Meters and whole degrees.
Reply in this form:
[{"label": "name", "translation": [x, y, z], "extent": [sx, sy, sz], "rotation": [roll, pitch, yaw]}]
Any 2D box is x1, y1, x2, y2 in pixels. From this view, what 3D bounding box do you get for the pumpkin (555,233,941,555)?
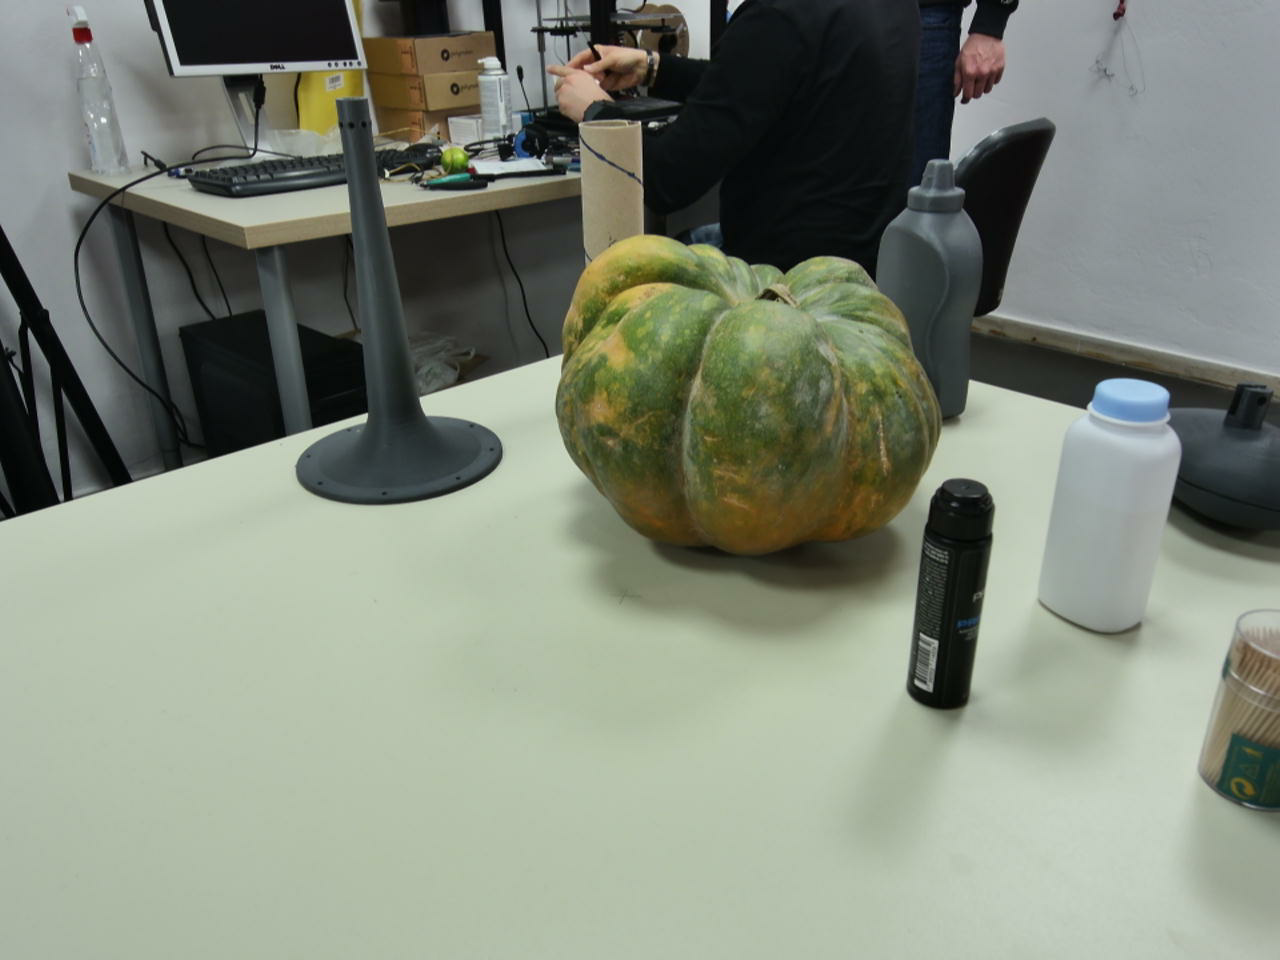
[{"label": "pumpkin", "translation": [0.066, -0.058, 0.630], "extent": [0.237, 0.173, 0.270], "rotation": [-2, 24, -5]}]
